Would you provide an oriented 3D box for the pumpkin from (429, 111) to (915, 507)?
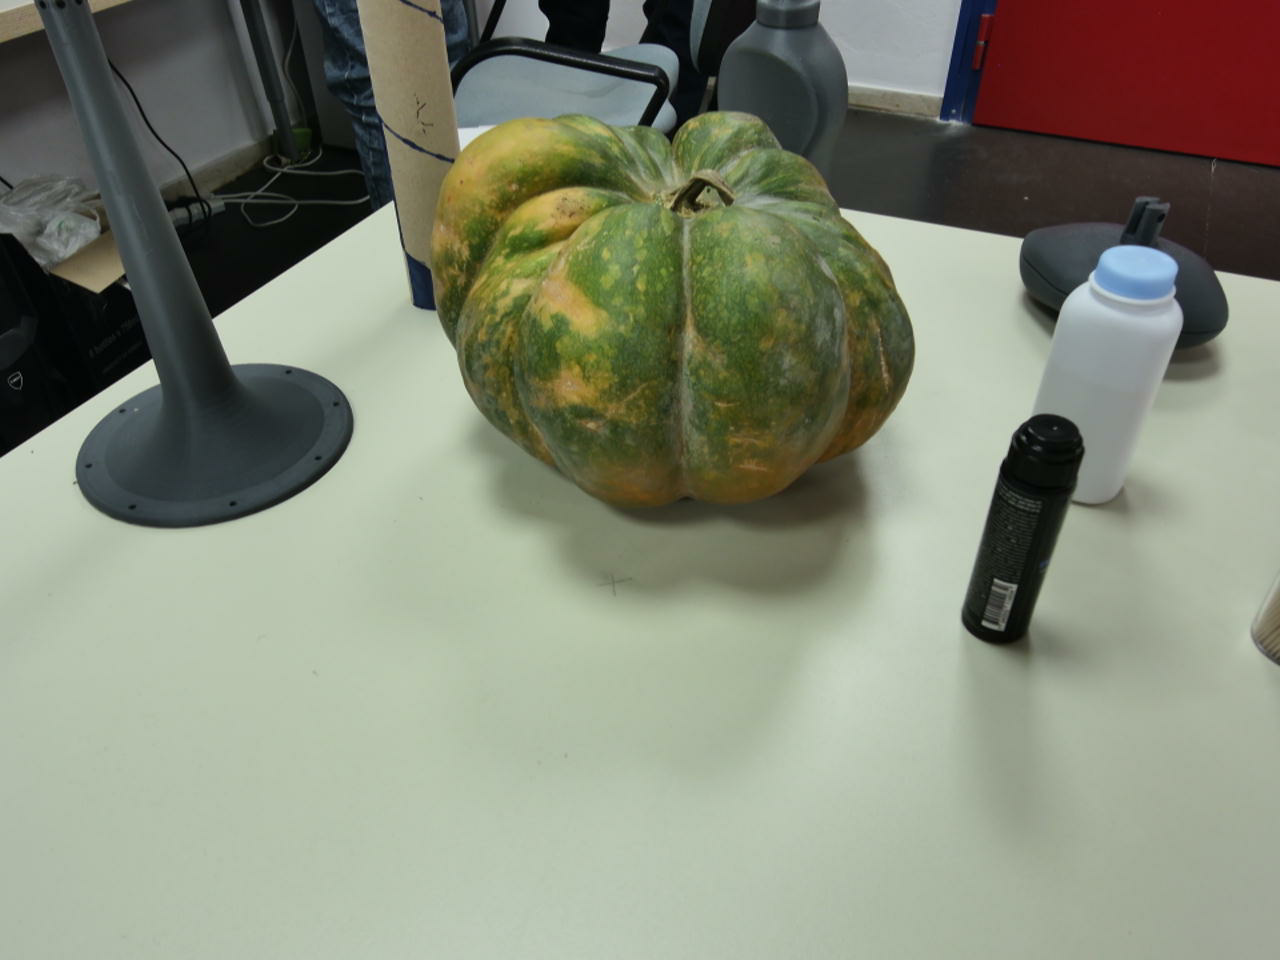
[{"bbox_3d":[0.017,-0.098,0.529,0.237,0.173,0.270,-18,41,-21],"label":"pumpkin"}]
